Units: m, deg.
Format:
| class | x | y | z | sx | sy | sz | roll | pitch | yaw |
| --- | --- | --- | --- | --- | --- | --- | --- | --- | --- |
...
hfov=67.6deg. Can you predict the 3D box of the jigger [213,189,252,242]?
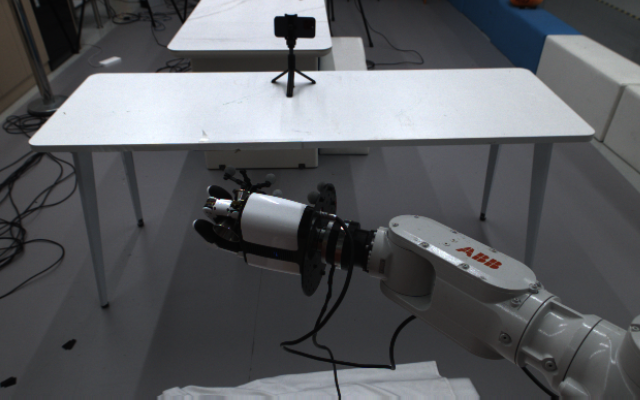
| class | x | y | z | sx | sy | sz | roll | pitch | yaw |
| --- | --- | --- | --- | --- | --- | --- | --- | --- | --- |
| jigger | -0.120 | 0.023 | 0.710 | 0.043 | 0.043 | 0.071 | 13 | 58 | 16 |
